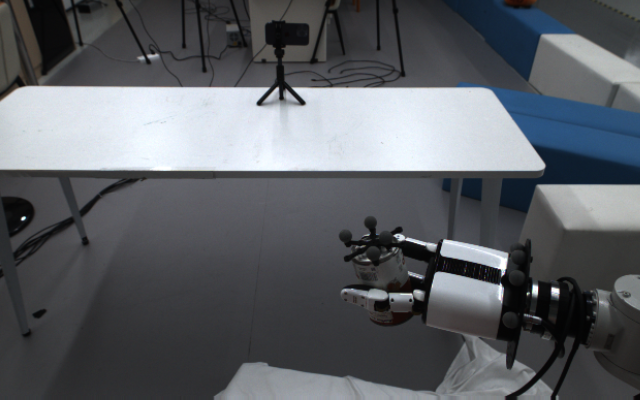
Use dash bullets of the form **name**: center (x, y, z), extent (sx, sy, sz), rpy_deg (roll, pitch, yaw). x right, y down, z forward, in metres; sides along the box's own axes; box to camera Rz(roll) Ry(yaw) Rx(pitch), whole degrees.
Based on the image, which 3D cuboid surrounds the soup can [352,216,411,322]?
- **soup can**: center (0.086, 0.105, 0.637), extent (0.067, 0.101, 0.067), rpy_deg (-16, 23, 7)
